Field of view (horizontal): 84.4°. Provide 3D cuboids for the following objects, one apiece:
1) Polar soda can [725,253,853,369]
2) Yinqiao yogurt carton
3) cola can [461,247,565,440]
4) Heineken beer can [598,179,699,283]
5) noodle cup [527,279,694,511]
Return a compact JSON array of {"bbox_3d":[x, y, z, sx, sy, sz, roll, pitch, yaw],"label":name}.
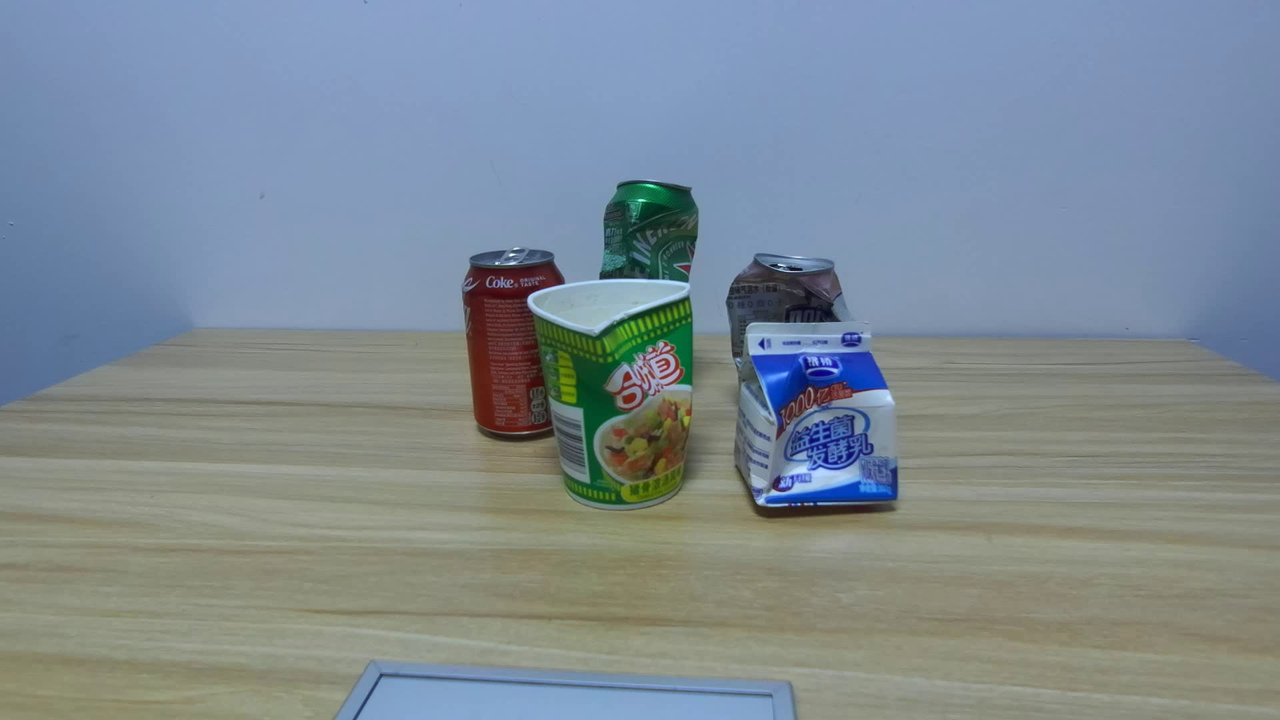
[{"bbox_3d":[0.103,-0.014,0.477,0.074,0.114,0.070,-12,28,-22],"label":"Polar soda can"},{"bbox_3d":[0.093,0.025,0.388,0.077,0.094,0.071,-2,13,-5],"label":"Yinqiao yogurt carton"},{"bbox_3d":[-0.080,-0.013,0.471,0.068,0.120,0.068,-1,18,1],"label":"cola can"},{"bbox_3d":[0.005,-0.049,0.516,0.067,0.159,0.079,5,14,4],"label":"Heineken beer can"},{"bbox_3d":[-0.011,0.017,0.394,0.094,0.109,0.086,-14,23,-32],"label":"noodle cup"}]
